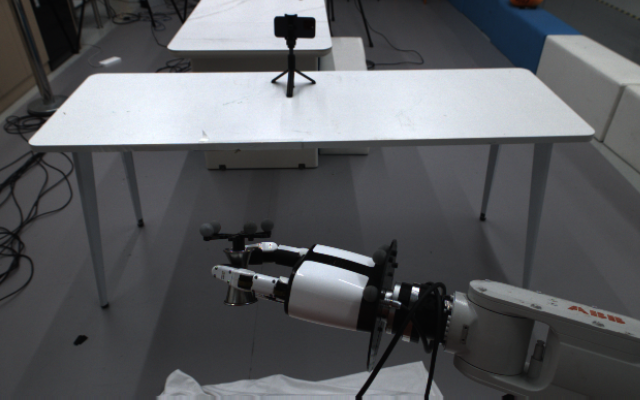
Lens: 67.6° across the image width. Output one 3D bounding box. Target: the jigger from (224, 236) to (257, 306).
[{"bbox_3d":[-0.102,0.096,0.618,0.043,0.071,0.043,-2,3,0],"label":"jigger"}]
